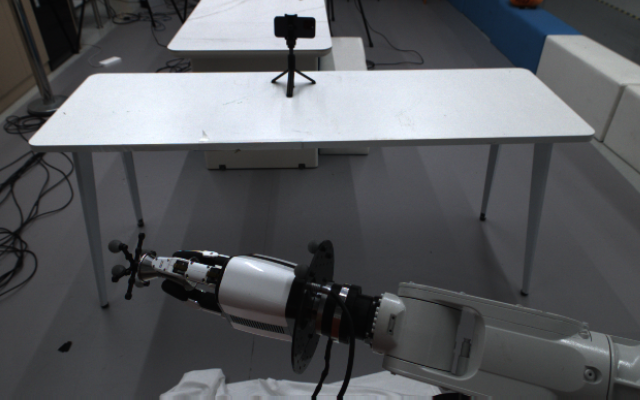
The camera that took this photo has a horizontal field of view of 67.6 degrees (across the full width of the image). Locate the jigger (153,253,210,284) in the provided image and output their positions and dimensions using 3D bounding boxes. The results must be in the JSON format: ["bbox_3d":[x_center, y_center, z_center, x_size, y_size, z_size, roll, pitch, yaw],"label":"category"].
[{"bbox_3d":[-0.188,0.088,0.633,0.071,0.043,0.043,4,34,13],"label":"jigger"}]
